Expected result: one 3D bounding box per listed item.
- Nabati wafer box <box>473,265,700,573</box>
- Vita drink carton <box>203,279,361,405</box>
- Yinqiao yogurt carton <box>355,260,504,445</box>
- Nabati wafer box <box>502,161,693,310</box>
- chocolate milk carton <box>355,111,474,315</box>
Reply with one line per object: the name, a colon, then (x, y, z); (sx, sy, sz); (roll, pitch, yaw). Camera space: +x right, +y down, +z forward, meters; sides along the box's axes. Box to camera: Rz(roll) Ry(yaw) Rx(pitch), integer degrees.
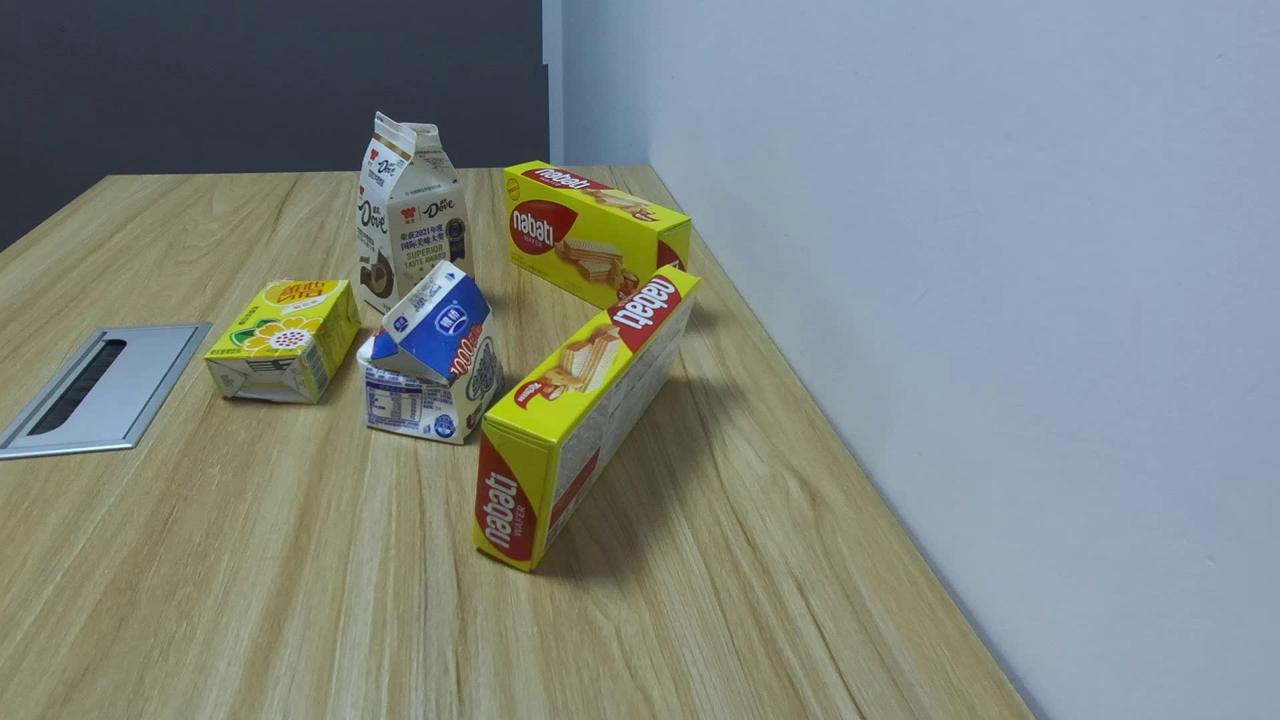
Nabati wafer box: (-0.025, 0.021, 0.423); (0.042, 0.096, 0.203); (23, 37, 13)
Vita drink carton: (-0.257, -0.014, 0.511); (0.076, 0.043, 0.108); (-2, 34, -2)
Yinqiao yogurt carton: (-0.137, -0.011, 0.468); (0.077, 0.093, 0.083); (9, 34, 10)
Nabati wafer box: (-0.044, -0.104, 0.621); (0.042, 0.093, 0.202); (-25, 41, -38)
chocolate milk carton: (-0.188, -0.118, 0.574); (0.073, 0.155, 0.084); (-26, 43, -37)
